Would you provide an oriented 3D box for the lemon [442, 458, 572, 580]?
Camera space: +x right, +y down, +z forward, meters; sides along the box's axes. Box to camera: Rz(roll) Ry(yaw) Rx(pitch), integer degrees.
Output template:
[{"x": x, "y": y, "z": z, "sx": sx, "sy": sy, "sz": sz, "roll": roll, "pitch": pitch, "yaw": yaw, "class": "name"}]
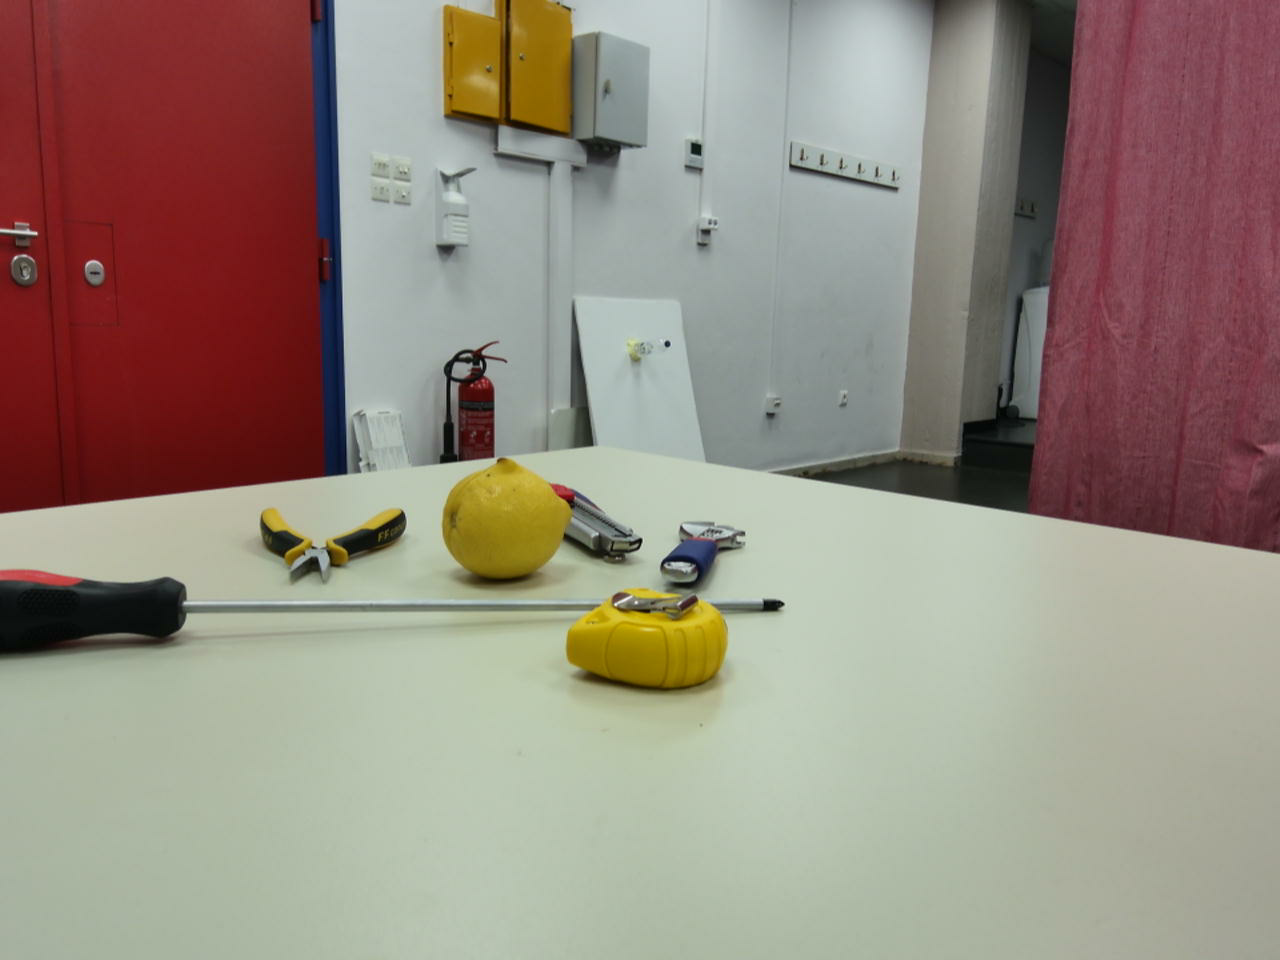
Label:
[{"x": -0.080, "y": 0.023, "z": 0.590, "sx": 0.071, "sy": 0.071, "sz": 0.070, "roll": 1, "pitch": 8, "yaw": 9, "class": "lemon"}]
